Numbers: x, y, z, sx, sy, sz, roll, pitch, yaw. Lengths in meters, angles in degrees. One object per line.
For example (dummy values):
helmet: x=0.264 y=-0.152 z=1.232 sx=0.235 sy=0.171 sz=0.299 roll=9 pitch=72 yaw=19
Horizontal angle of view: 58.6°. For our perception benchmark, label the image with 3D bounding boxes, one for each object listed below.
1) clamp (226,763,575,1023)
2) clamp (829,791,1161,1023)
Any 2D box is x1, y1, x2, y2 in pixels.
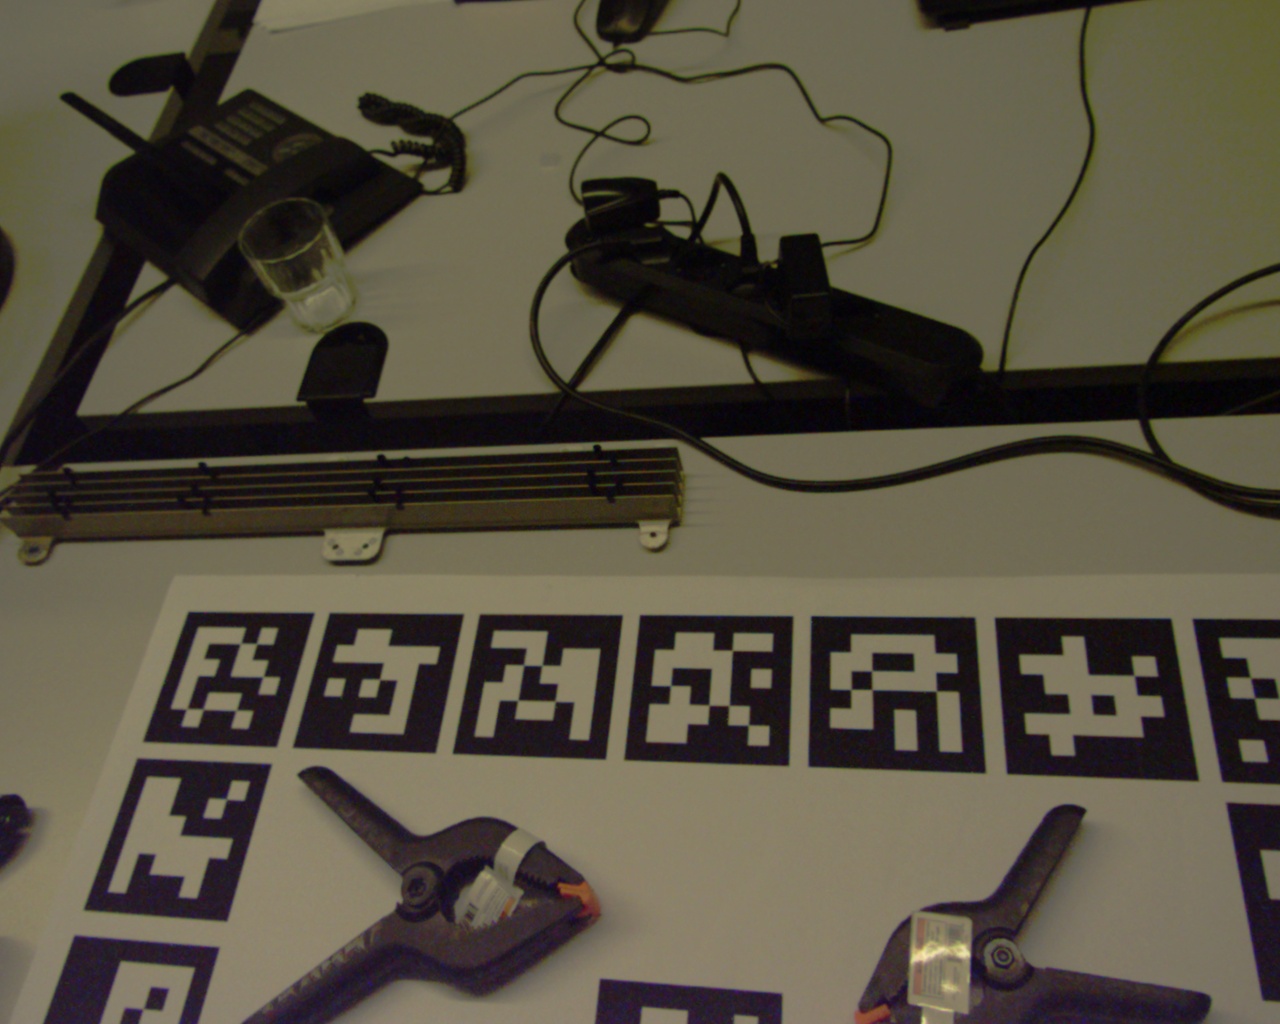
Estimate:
clamp: x=-0.141 y=0.232 z=0.700 sx=0.204 sy=0.036 sz=0.166 roll=-4 pitch=54 yaw=10
clamp: x=0.178 y=0.239 z=0.623 sx=0.165 sy=0.036 sz=0.123 roll=-24 pitch=63 yaw=-2
